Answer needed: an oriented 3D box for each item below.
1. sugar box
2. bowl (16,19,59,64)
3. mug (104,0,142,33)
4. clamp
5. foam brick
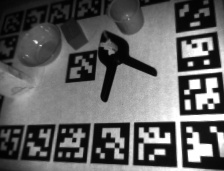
[{"bbox_3d":[-0.332,-0.022,0.647,0.092,0.178,0.045,-28,66,10],"label":"sugar box"},{"bbox_3d":[-0.235,-0.136,0.715,0.160,0.056,0.161,-6,71,18],"label":"bowl"},{"bbox_3d":[0.029,-0.210,0.621,0.116,0.082,0.093,24,83,23],"label":"mug"},{"bbox_3d":[-0.001,-0.080,0.611,0.164,0.037,0.201,-27,66,13],"label":"clamp"},{"bbox_3d":[-0.122,-0.167,0.691,0.052,0.052,0.077,-31,66,11],"label":"foam brick"}]
